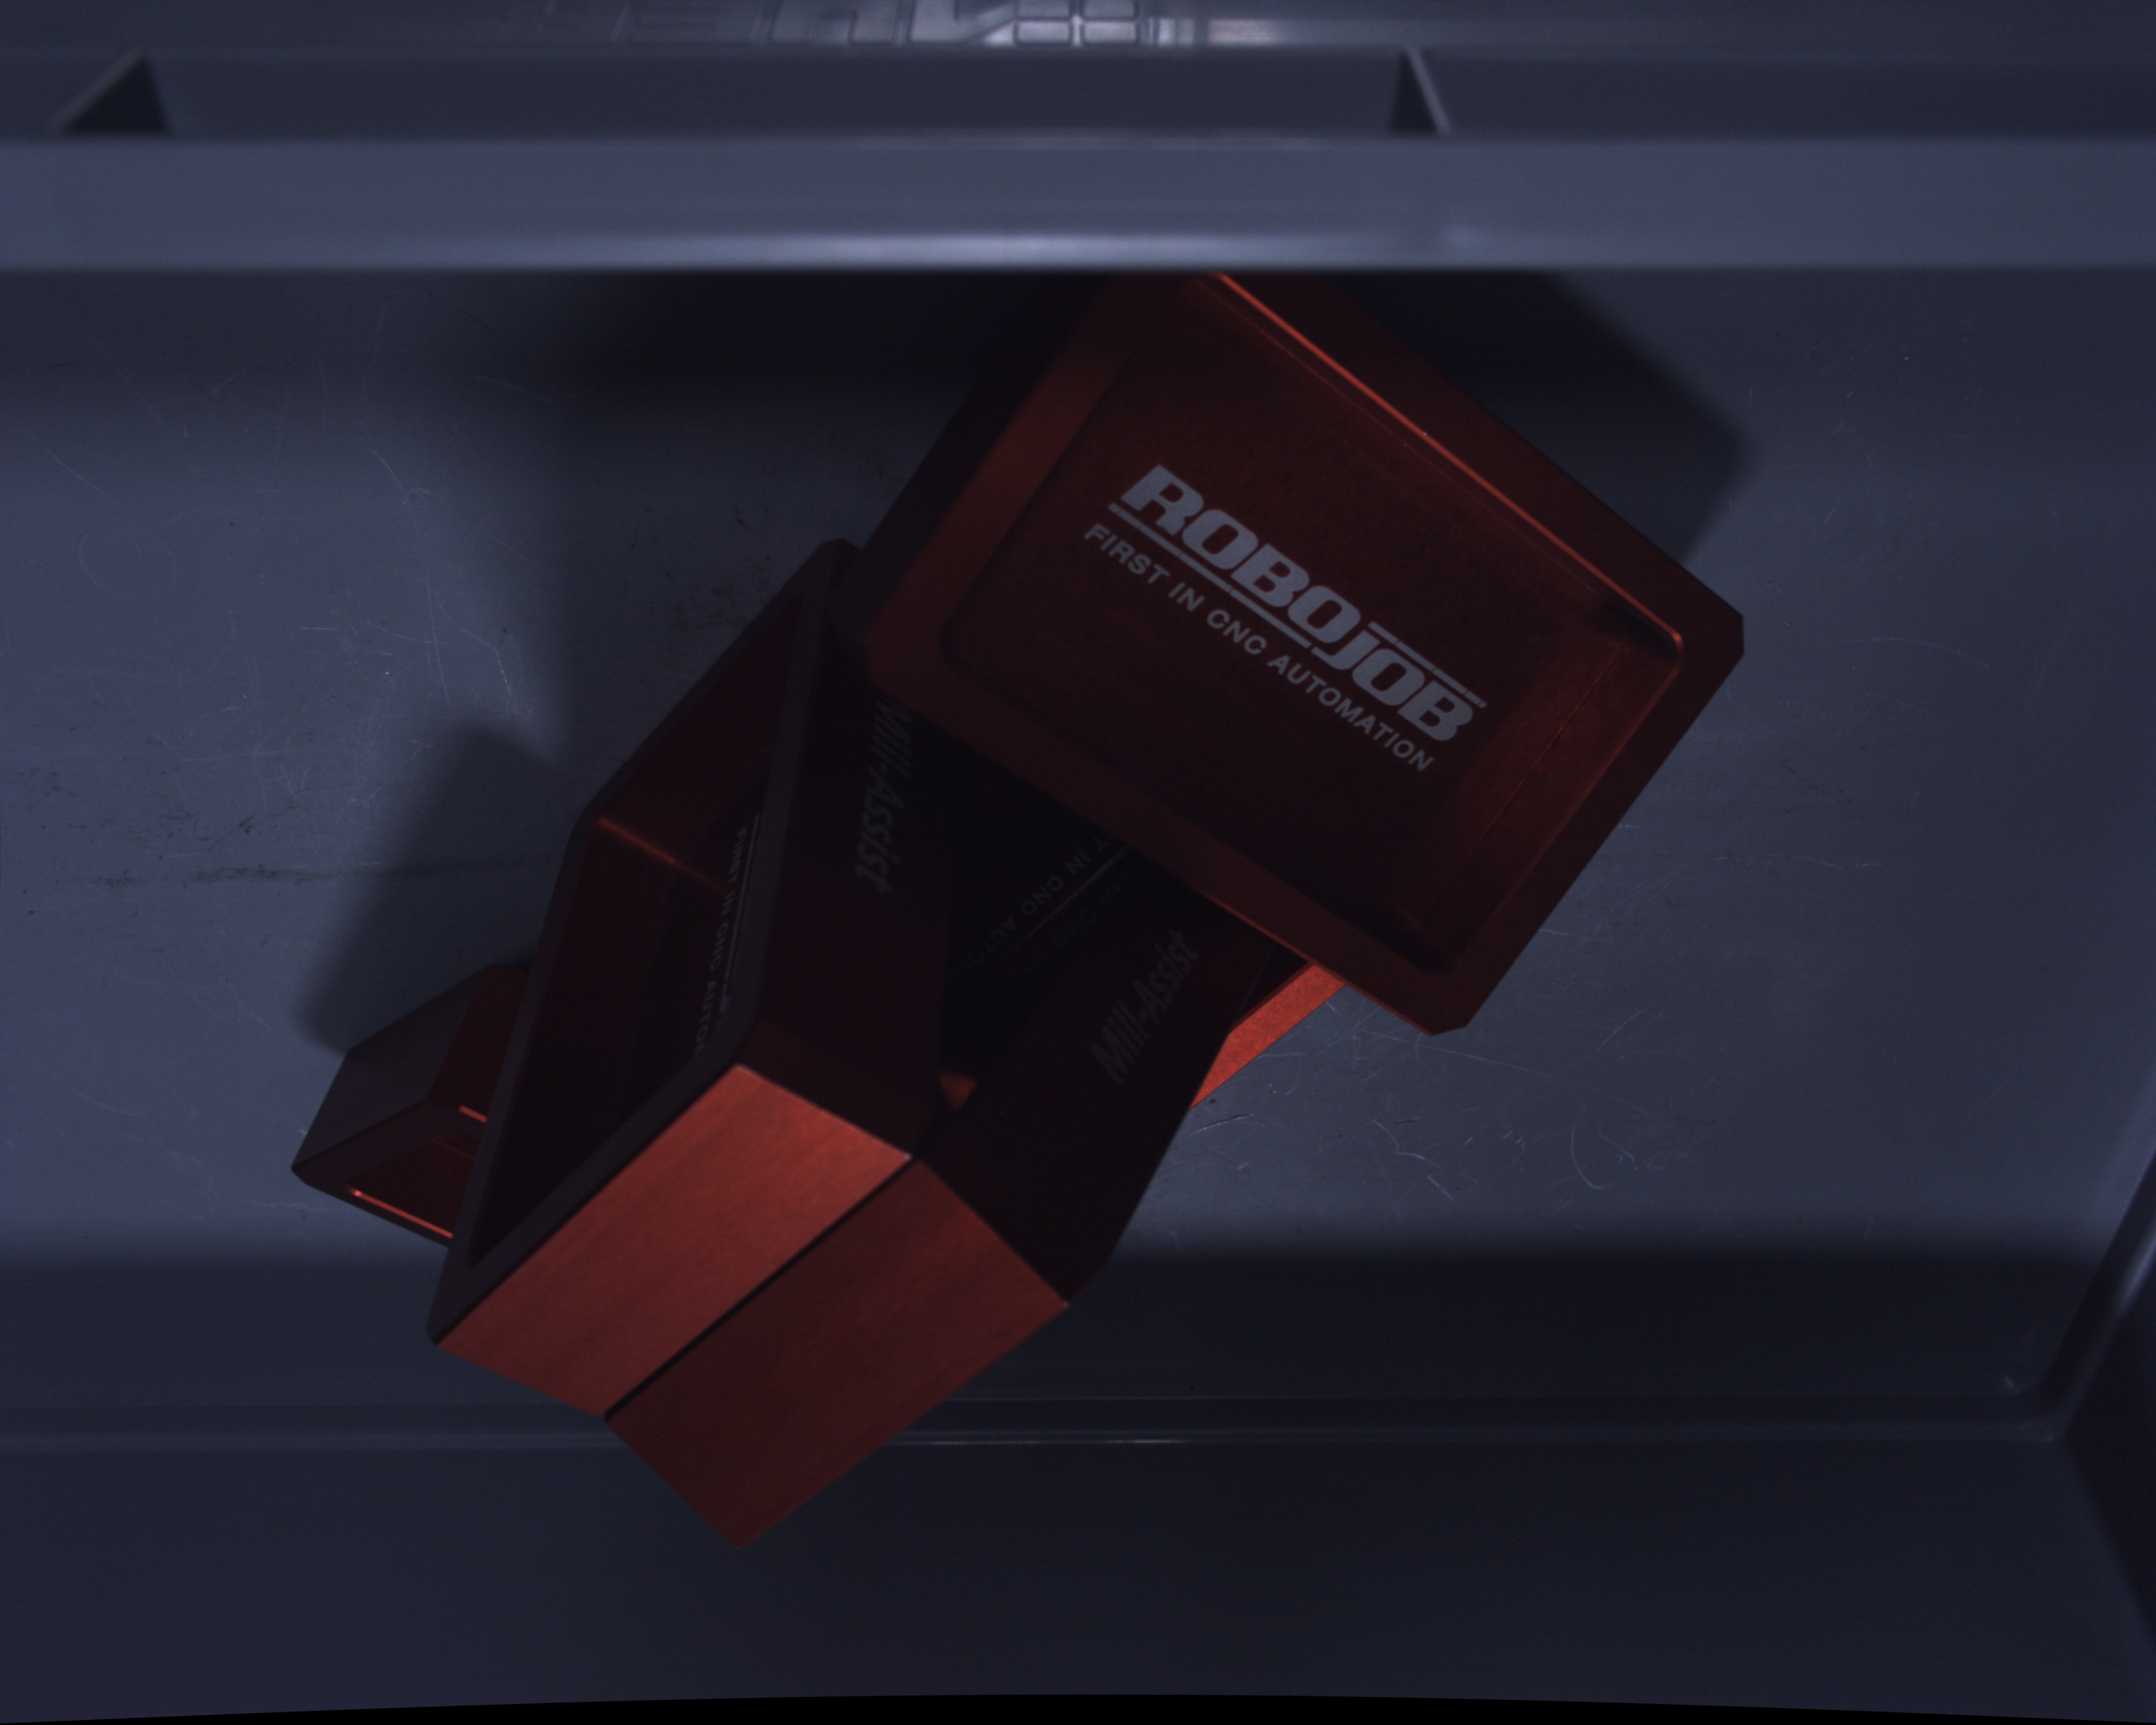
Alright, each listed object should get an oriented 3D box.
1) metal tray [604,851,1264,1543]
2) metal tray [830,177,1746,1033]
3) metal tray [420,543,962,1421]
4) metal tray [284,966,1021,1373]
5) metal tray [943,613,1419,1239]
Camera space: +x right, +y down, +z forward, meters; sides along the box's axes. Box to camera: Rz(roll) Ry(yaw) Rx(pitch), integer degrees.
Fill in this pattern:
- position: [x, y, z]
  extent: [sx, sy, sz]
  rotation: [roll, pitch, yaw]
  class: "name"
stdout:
- position: [-0.018, 0.048, 0.363]
  extent: [0.030, 0.131, 0.090]
  rotation: [45, 119, -5]
  class: "metal tray"
- position: [0.037, -0.040, 0.348]
  extent: [0.131, 0.030, 0.090]
  rotation: [32, 98, -24]
  class: "metal tray"
- position: [-0.060, 0.015, 0.349]
  extent: [0.030, 0.130, 0.090]
  rotation: [33, 123, -24]
  class: "metal tray"
- position: [-0.089, 0.073, 0.442]
  extent: [0.130, 0.030, 0.090]
  rotation: [32, 147, -25]
  class: "metal tray"
- position: [-0.006, 0.016, 0.417]
  extent: [0.090, 0.030, 0.129]
  rotation: [32, 123, -25]
  class: "metal tray"
